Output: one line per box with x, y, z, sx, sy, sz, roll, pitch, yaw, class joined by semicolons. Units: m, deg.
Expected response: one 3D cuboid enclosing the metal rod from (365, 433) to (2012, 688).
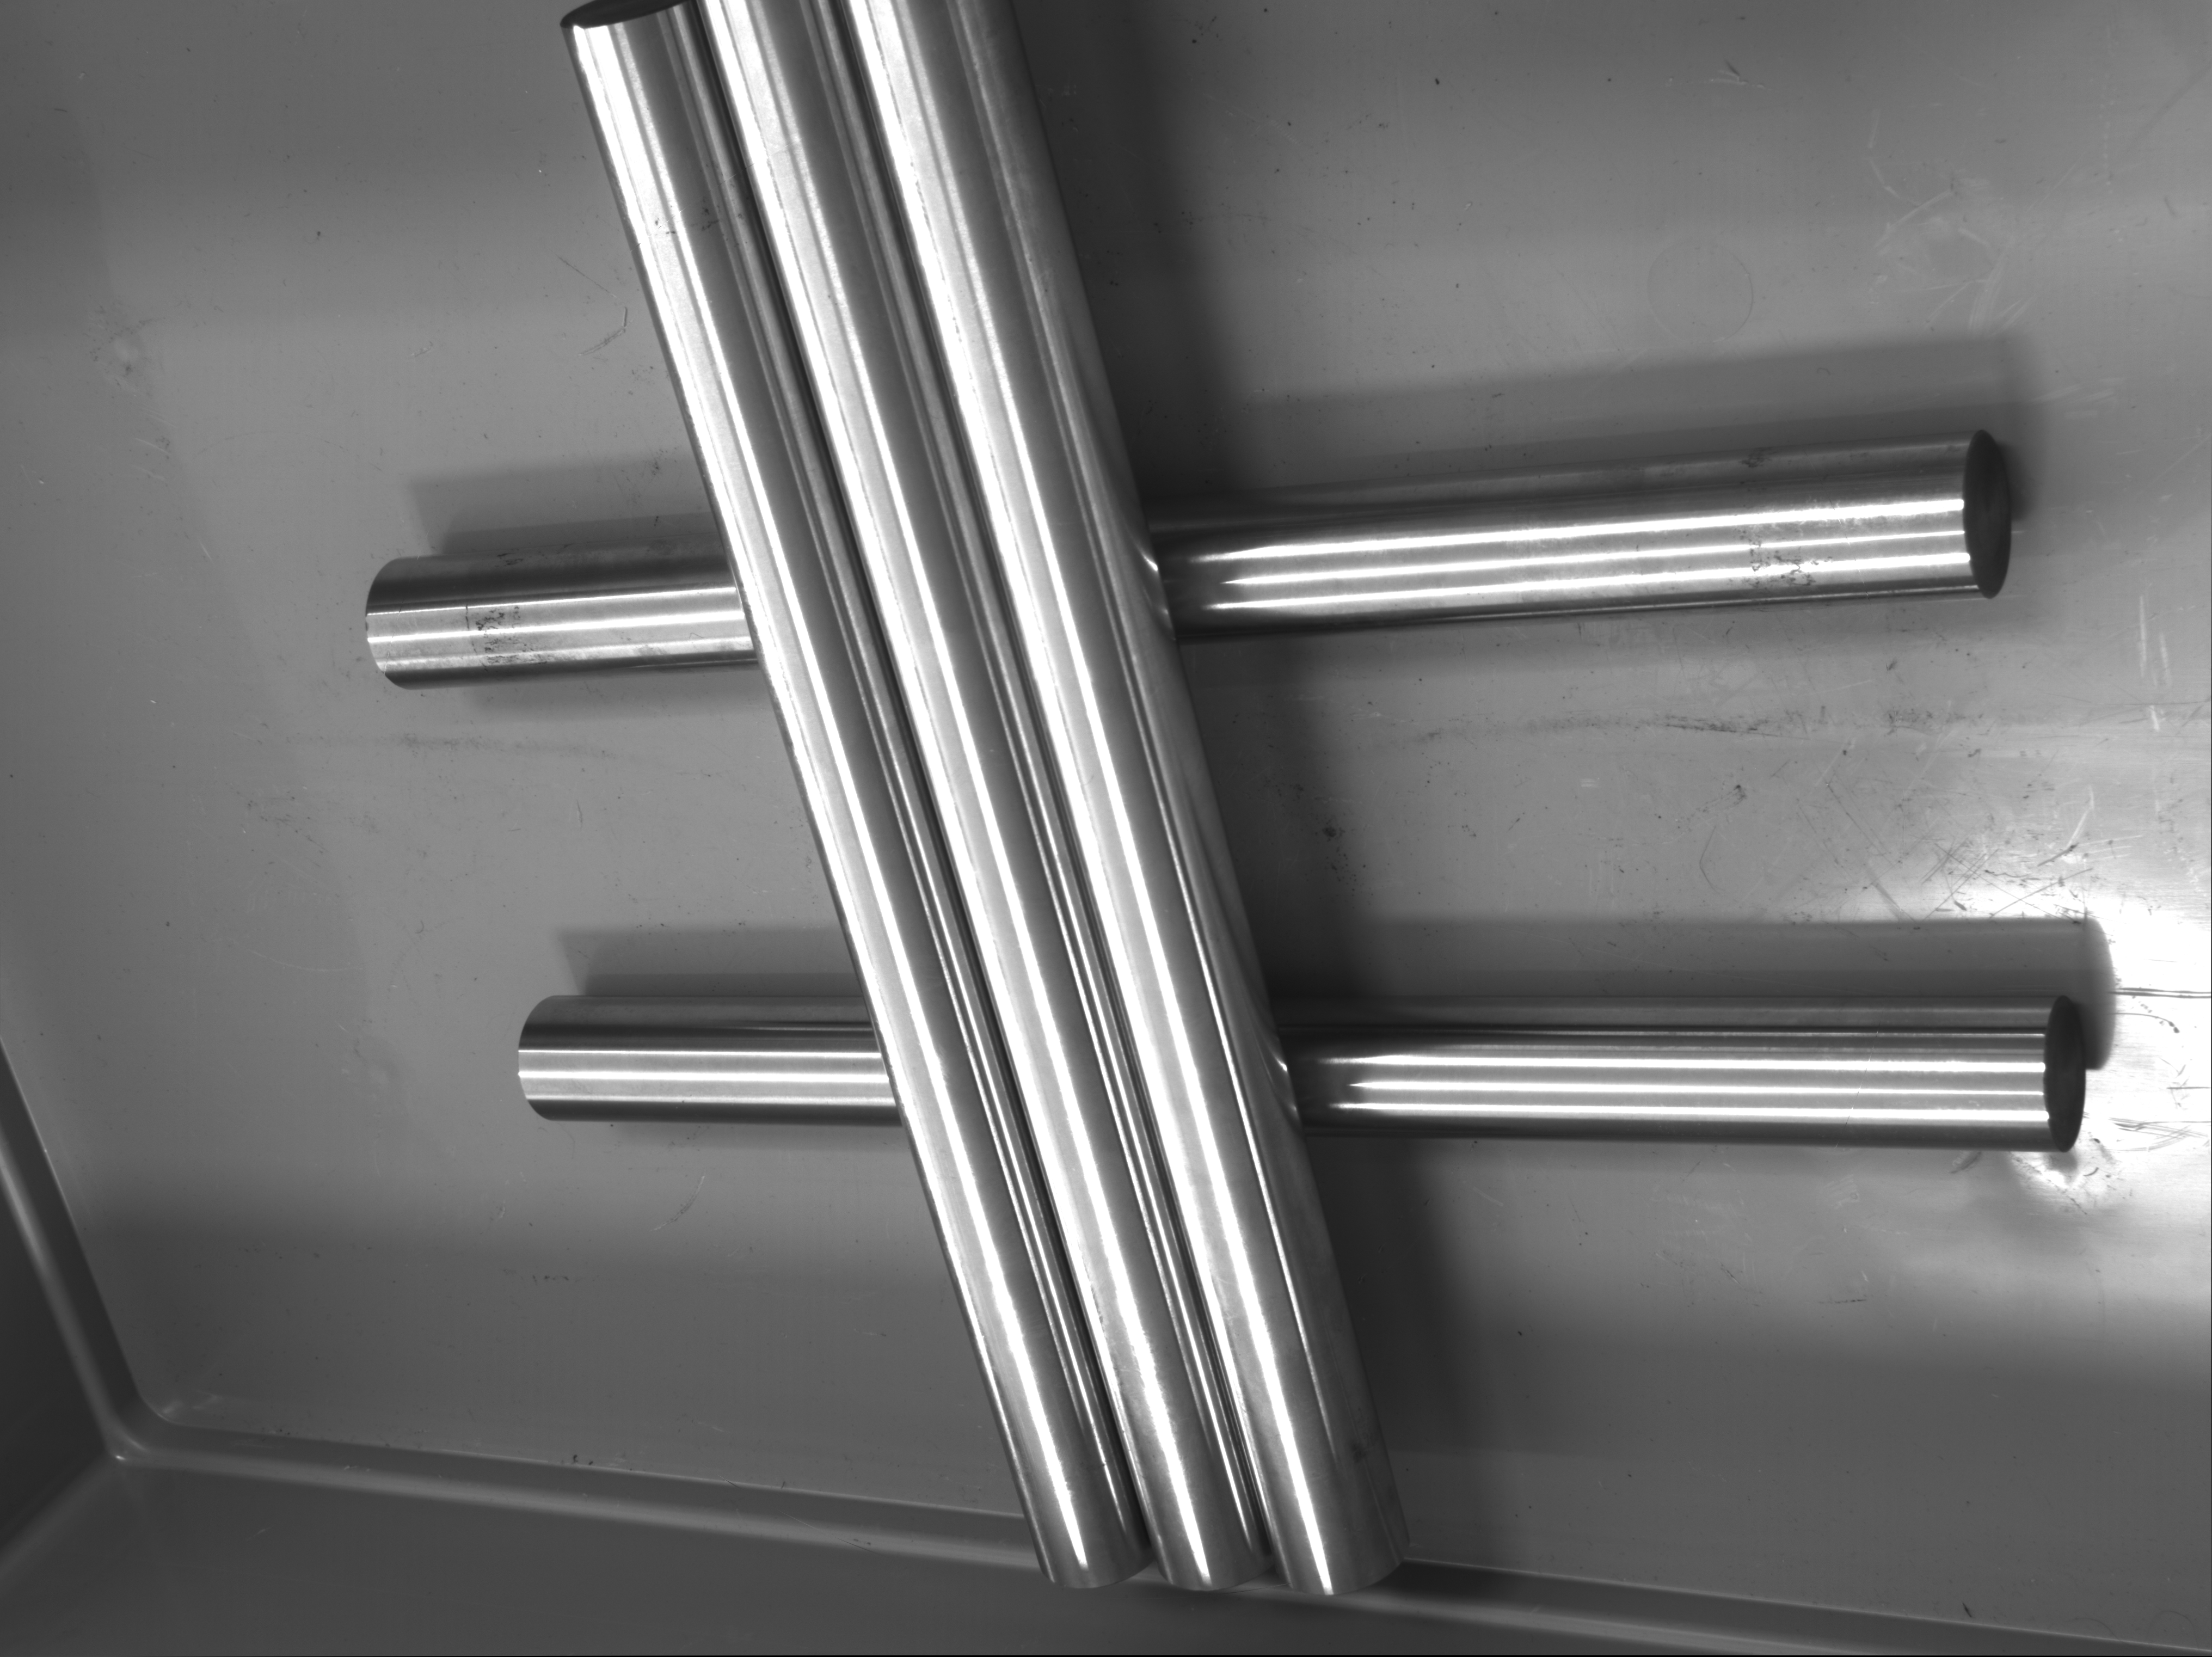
0.000;-0.042;0.616;0.299;0.025;0.025;-2;117;29;metal rod

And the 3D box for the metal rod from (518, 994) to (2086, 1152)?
0.022;0.042;0.656;0.299;0.025;0.025;-1;118;29;metal rod

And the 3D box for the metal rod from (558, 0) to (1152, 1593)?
-0.037;0.004;0.630;0.025;0.025;0.300;-1;118;29;metal rod

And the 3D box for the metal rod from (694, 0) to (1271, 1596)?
-0.015;0.002;0.617;0.025;0.025;0.300;-1;118;29;metal rod

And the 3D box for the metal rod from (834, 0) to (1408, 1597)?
0.006;-0.001;0.604;0.025;0.025;0.300;-1;118;29;metal rod
